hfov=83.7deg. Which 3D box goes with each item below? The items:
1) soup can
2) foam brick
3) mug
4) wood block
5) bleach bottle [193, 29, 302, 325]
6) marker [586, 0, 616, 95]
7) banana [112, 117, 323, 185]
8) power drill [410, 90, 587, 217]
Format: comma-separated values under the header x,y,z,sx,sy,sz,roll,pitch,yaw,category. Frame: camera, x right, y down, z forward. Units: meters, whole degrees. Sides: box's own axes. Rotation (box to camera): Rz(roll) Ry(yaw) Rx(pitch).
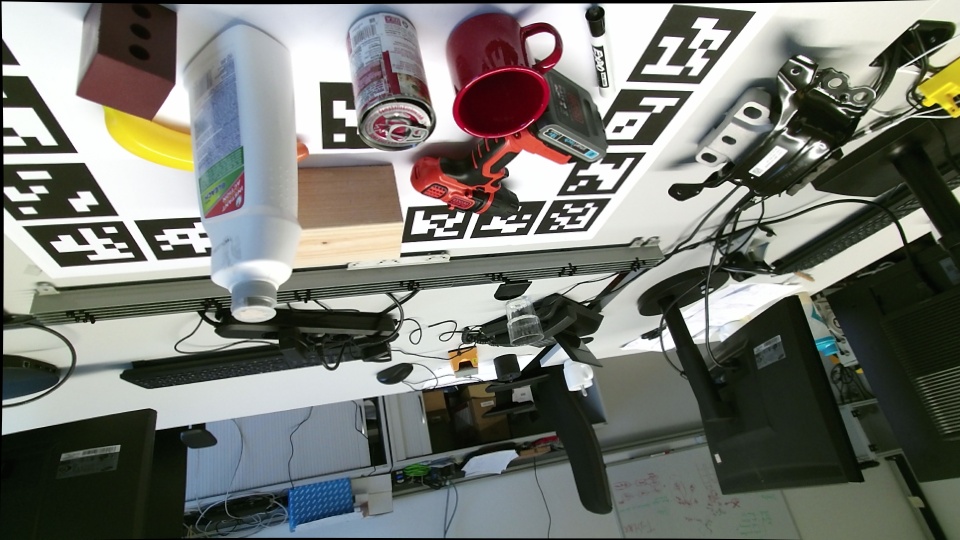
x,y,z,sx,sy,sz,roll,pitch,yaw,category
-0.080,-0.159,0.479,0.068,0.101,0.068,-9,158,-4,soup can
-0.277,-0.163,0.417,0.051,0.077,0.053,-30,153,35,foam brick
0.022,-0.185,0.511,0.117,0.081,0.093,-30,149,24,mug
-0.203,-0.059,0.655,0.207,0.090,0.090,-6,153,-15,wood block
-0.191,-0.073,0.442,0.068,0.249,0.103,10,147,-42,bleach bottle
0.126,-0.227,0.555,0.020,0.019,0.121,-21,153,10,marker
-0.268,-0.112,0.565,0.198,0.038,0.074,4,136,-29,banana
0.034,-0.137,0.658,0.185,0.057,0.187,14,145,-39,power drill
